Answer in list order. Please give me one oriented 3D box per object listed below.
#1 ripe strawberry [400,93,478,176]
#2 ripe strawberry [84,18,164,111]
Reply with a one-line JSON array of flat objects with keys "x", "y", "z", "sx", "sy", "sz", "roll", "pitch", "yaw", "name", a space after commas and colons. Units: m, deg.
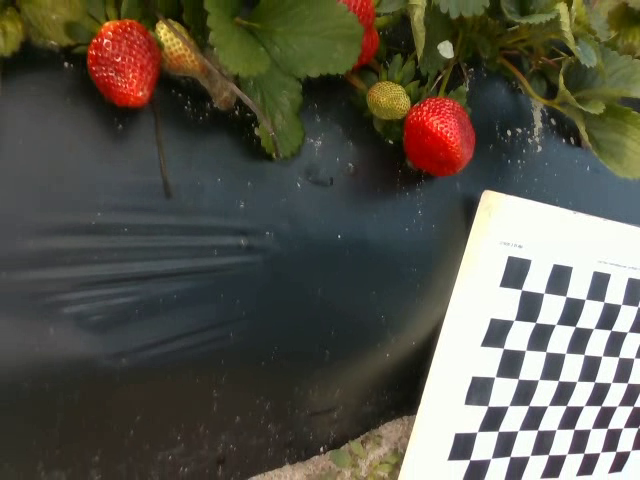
[{"x": 0.035, "y": -0.026, "z": 0.158, "sx": 0.022, "sy": 0.025, "sz": 0.030, "roll": -1, "pitch": 24, "yaw": 0, "name": "ripe strawberry"}, {"x": -0.040, "y": -0.035, "z": 0.121, "sx": 0.018, "sy": 0.022, "sz": 0.017, "roll": -14, "pitch": -22, "yaw": -24, "name": "ripe strawberry"}]
